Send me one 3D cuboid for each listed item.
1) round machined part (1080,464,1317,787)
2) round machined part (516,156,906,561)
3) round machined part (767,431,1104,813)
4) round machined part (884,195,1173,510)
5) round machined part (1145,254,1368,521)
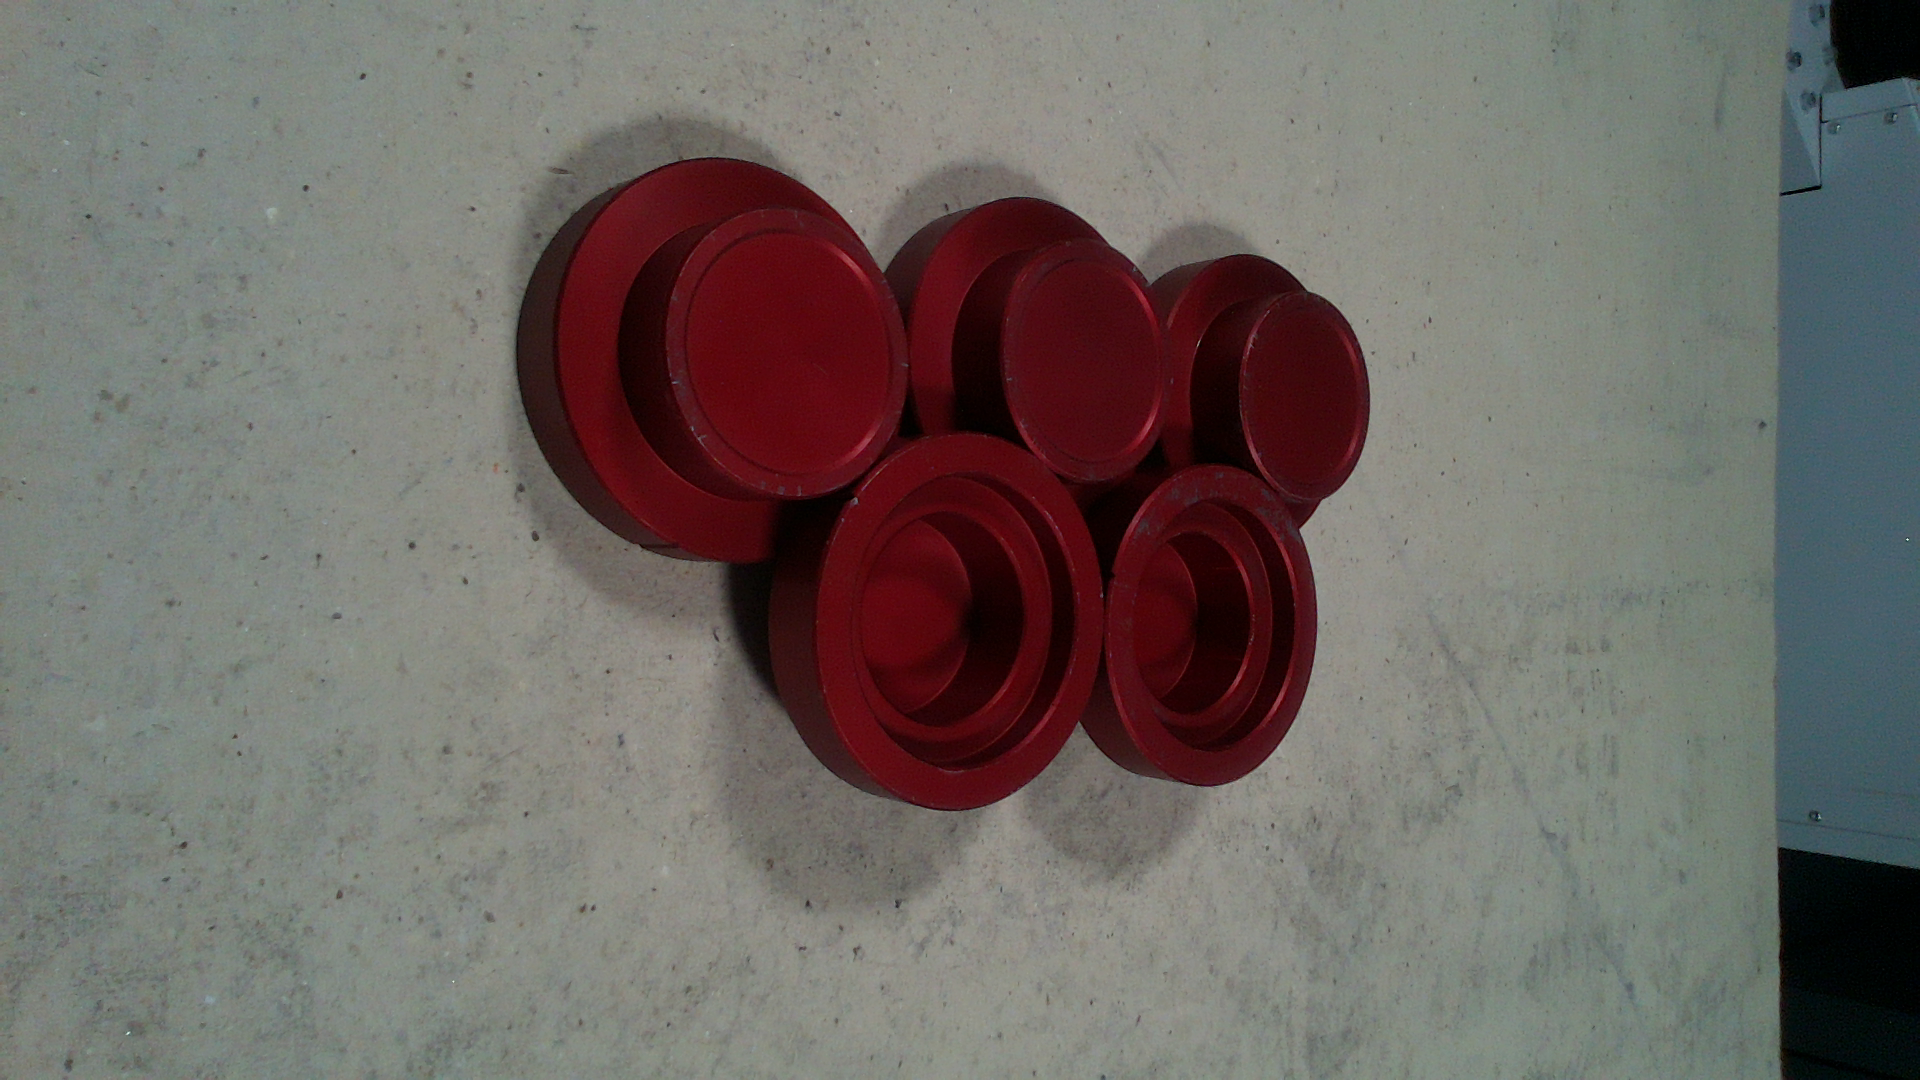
[{"bbox_3d":[0.066,0.026,0.433,0.098,0.042,0.098,0,90,-40],"label":"round machined part"},{"bbox_3d":[-0.052,-0.044,0.334,0.098,0.042,0.098,0,90,-40],"label":"round machined part"},{"bbox_3d":[-0.010,0.021,0.369,0.098,0.042,0.098,0,90,-40],"label":"round machined part"},{"bbox_3d":[0.024,-0.050,0.398,0.098,0.042,0.098,0,90,-40],"label":"round machined part"},{"bbox_3d":[0.100,-0.047,0.461,0.098,0.042,0.098,0,90,-40],"label":"round machined part"}]
